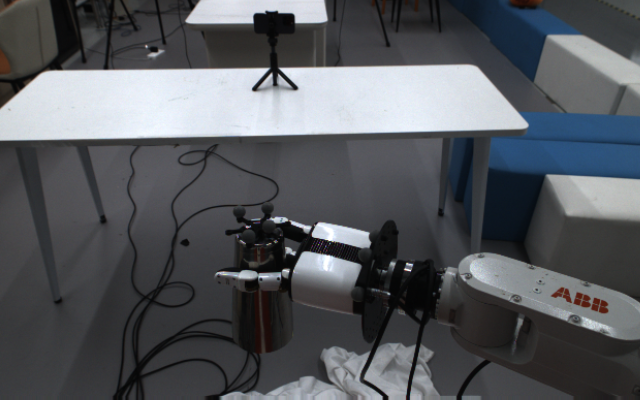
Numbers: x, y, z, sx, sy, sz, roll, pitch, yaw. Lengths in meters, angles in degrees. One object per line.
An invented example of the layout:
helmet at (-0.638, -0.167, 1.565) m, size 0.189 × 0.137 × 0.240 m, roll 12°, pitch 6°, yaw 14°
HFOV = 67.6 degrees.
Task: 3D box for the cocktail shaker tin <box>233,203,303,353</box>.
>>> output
cocktail shaker tin at (-0.081, 0.118, 0.689) m, size 0.093 × 0.170 × 0.093 m, roll 1°, pitch 26°, yaw -1°
